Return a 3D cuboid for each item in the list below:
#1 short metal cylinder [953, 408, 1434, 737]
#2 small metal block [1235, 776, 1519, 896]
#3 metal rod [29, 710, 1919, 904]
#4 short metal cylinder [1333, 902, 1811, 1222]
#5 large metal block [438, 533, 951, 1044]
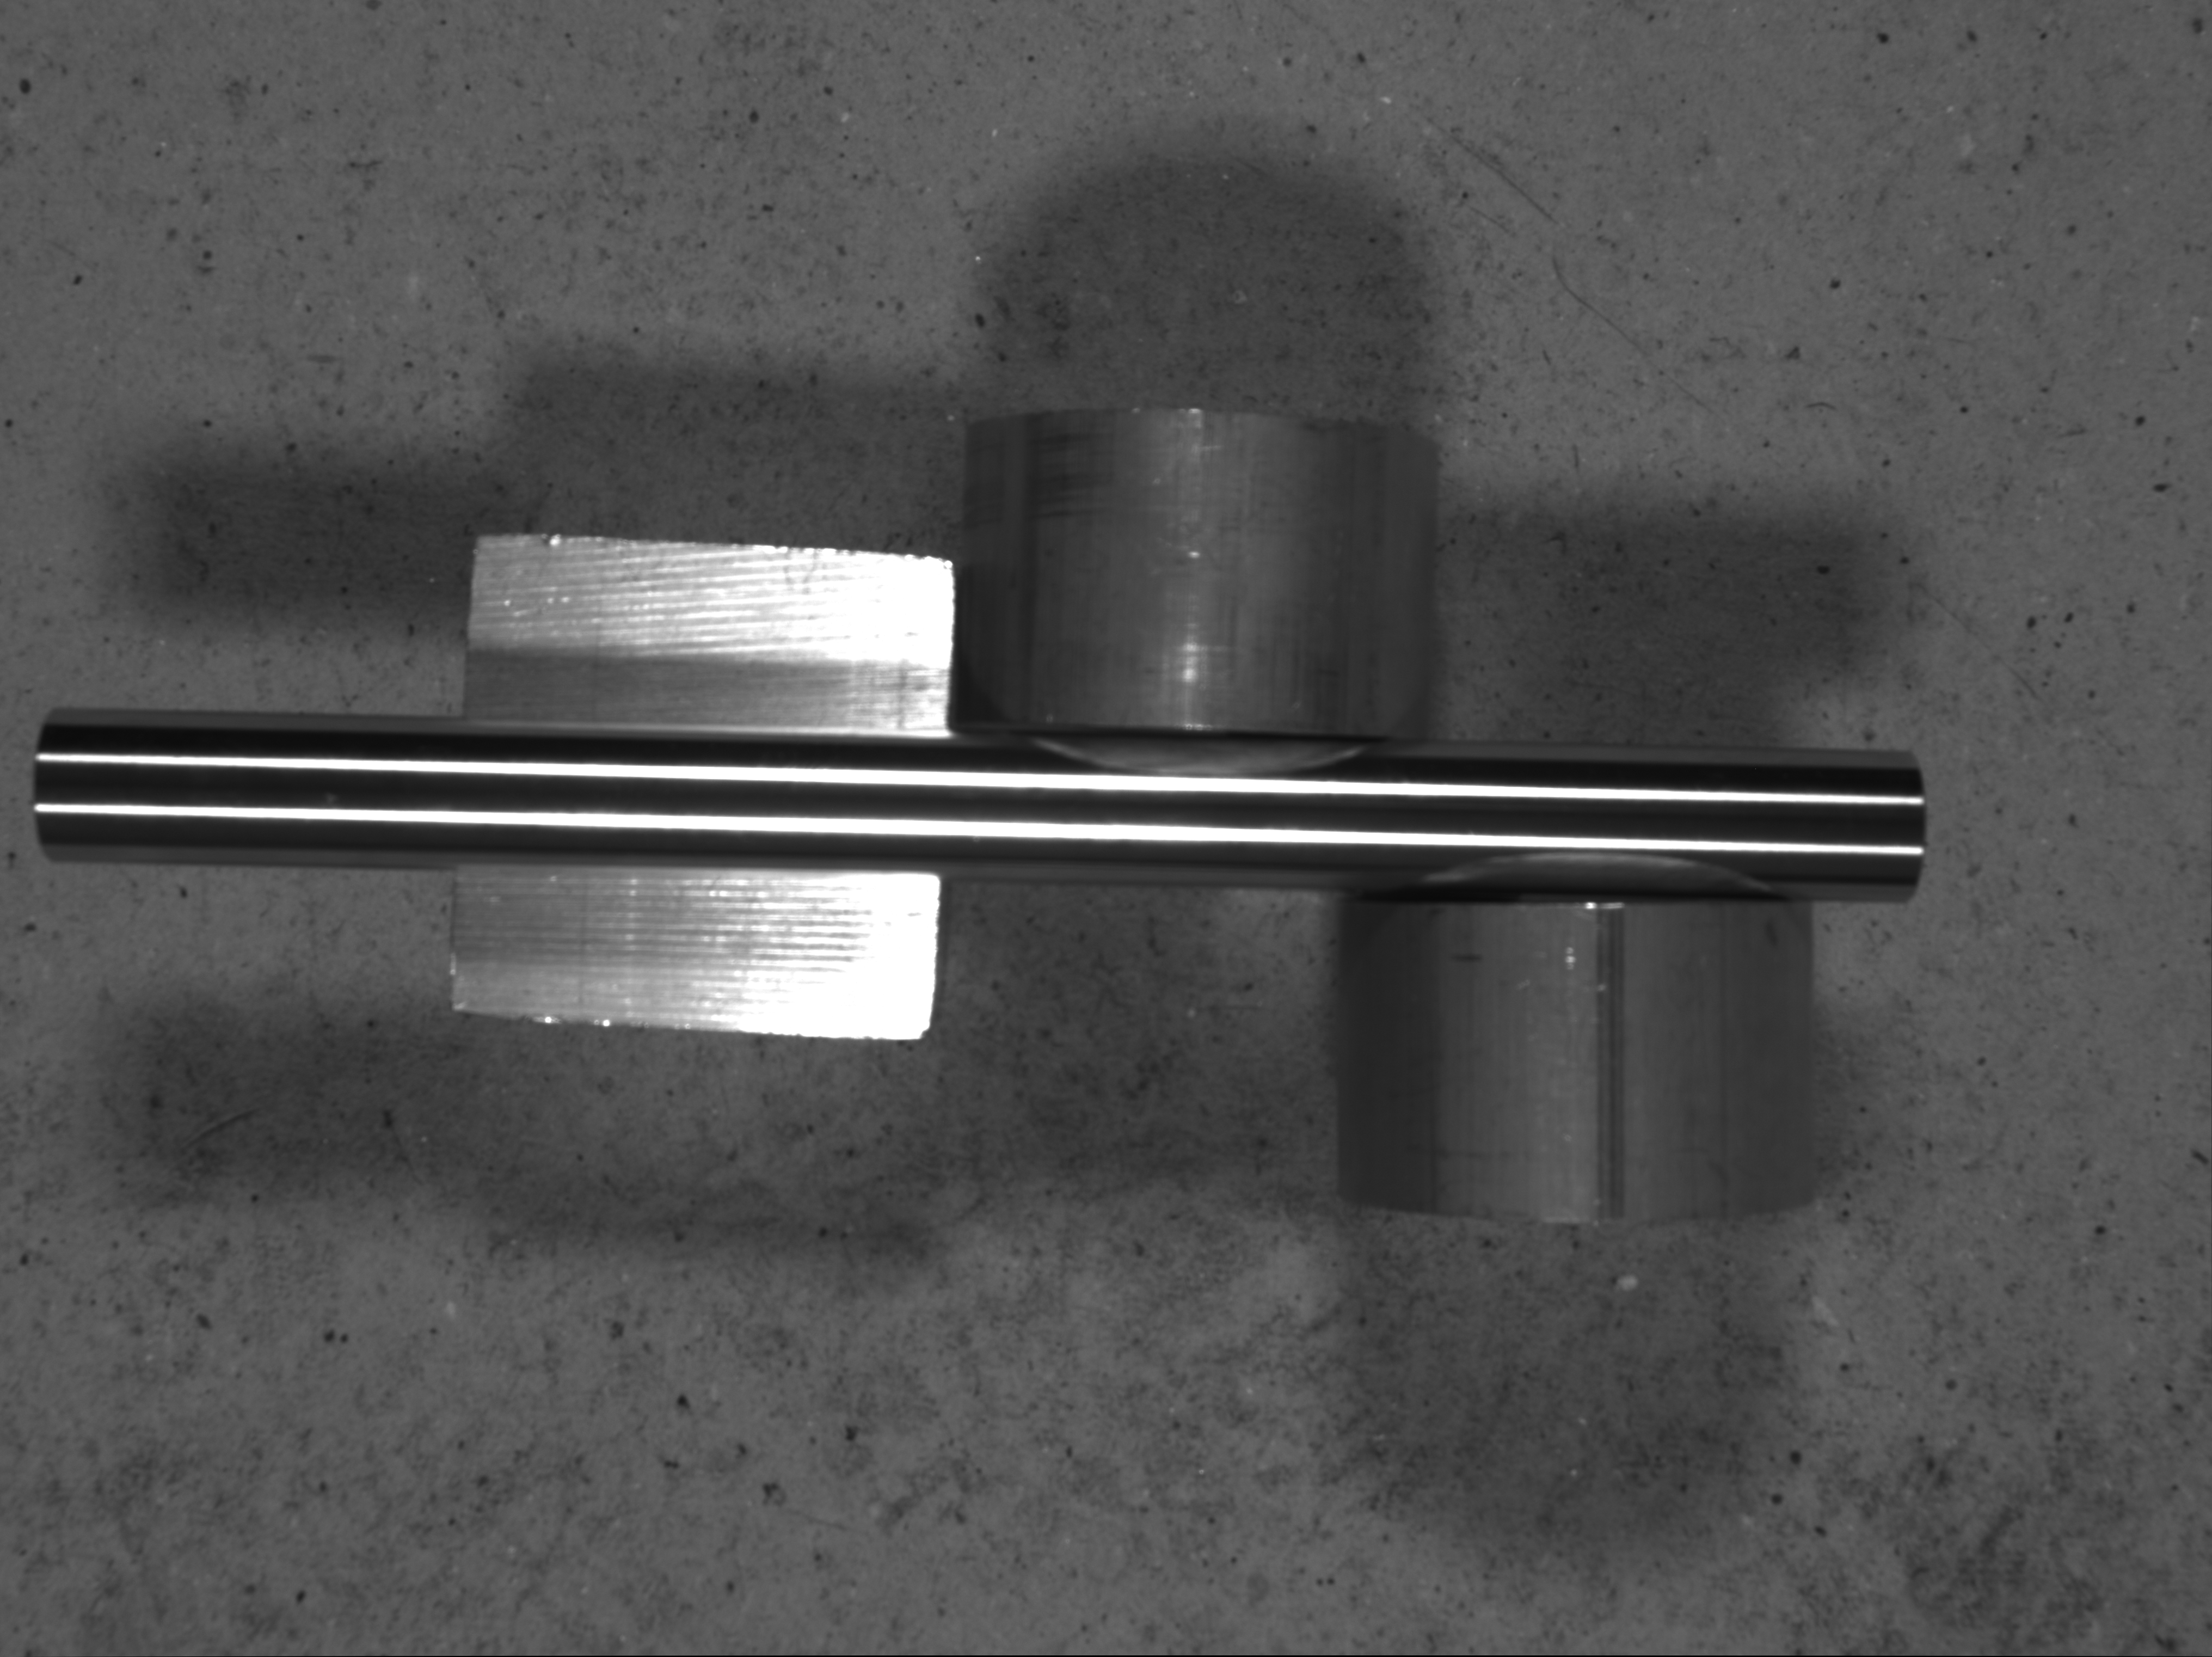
[{"bbox_3d":[0.015,-0.041,0.619,0.080,0.080,0.050,2,90,0],"label":"short metal cylinder"},{"bbox_3d":[0.045,-0.001,0.632,0.050,0.050,0.025,1,90,0],"label":"small metal block"},{"bbox_3d":[-0.020,-0.003,0.594,0.300,0.025,0.025,1,90,-2],"label":"metal rod"},{"bbox_3d":[0.078,0.037,0.618,0.080,0.080,0.050,0,90,0],"label":"short metal cylinder"},{"bbox_3d":[-0.068,-0.006,0.629,0.080,0.050,0.080,3,90,0],"label":"large metal block"}]
